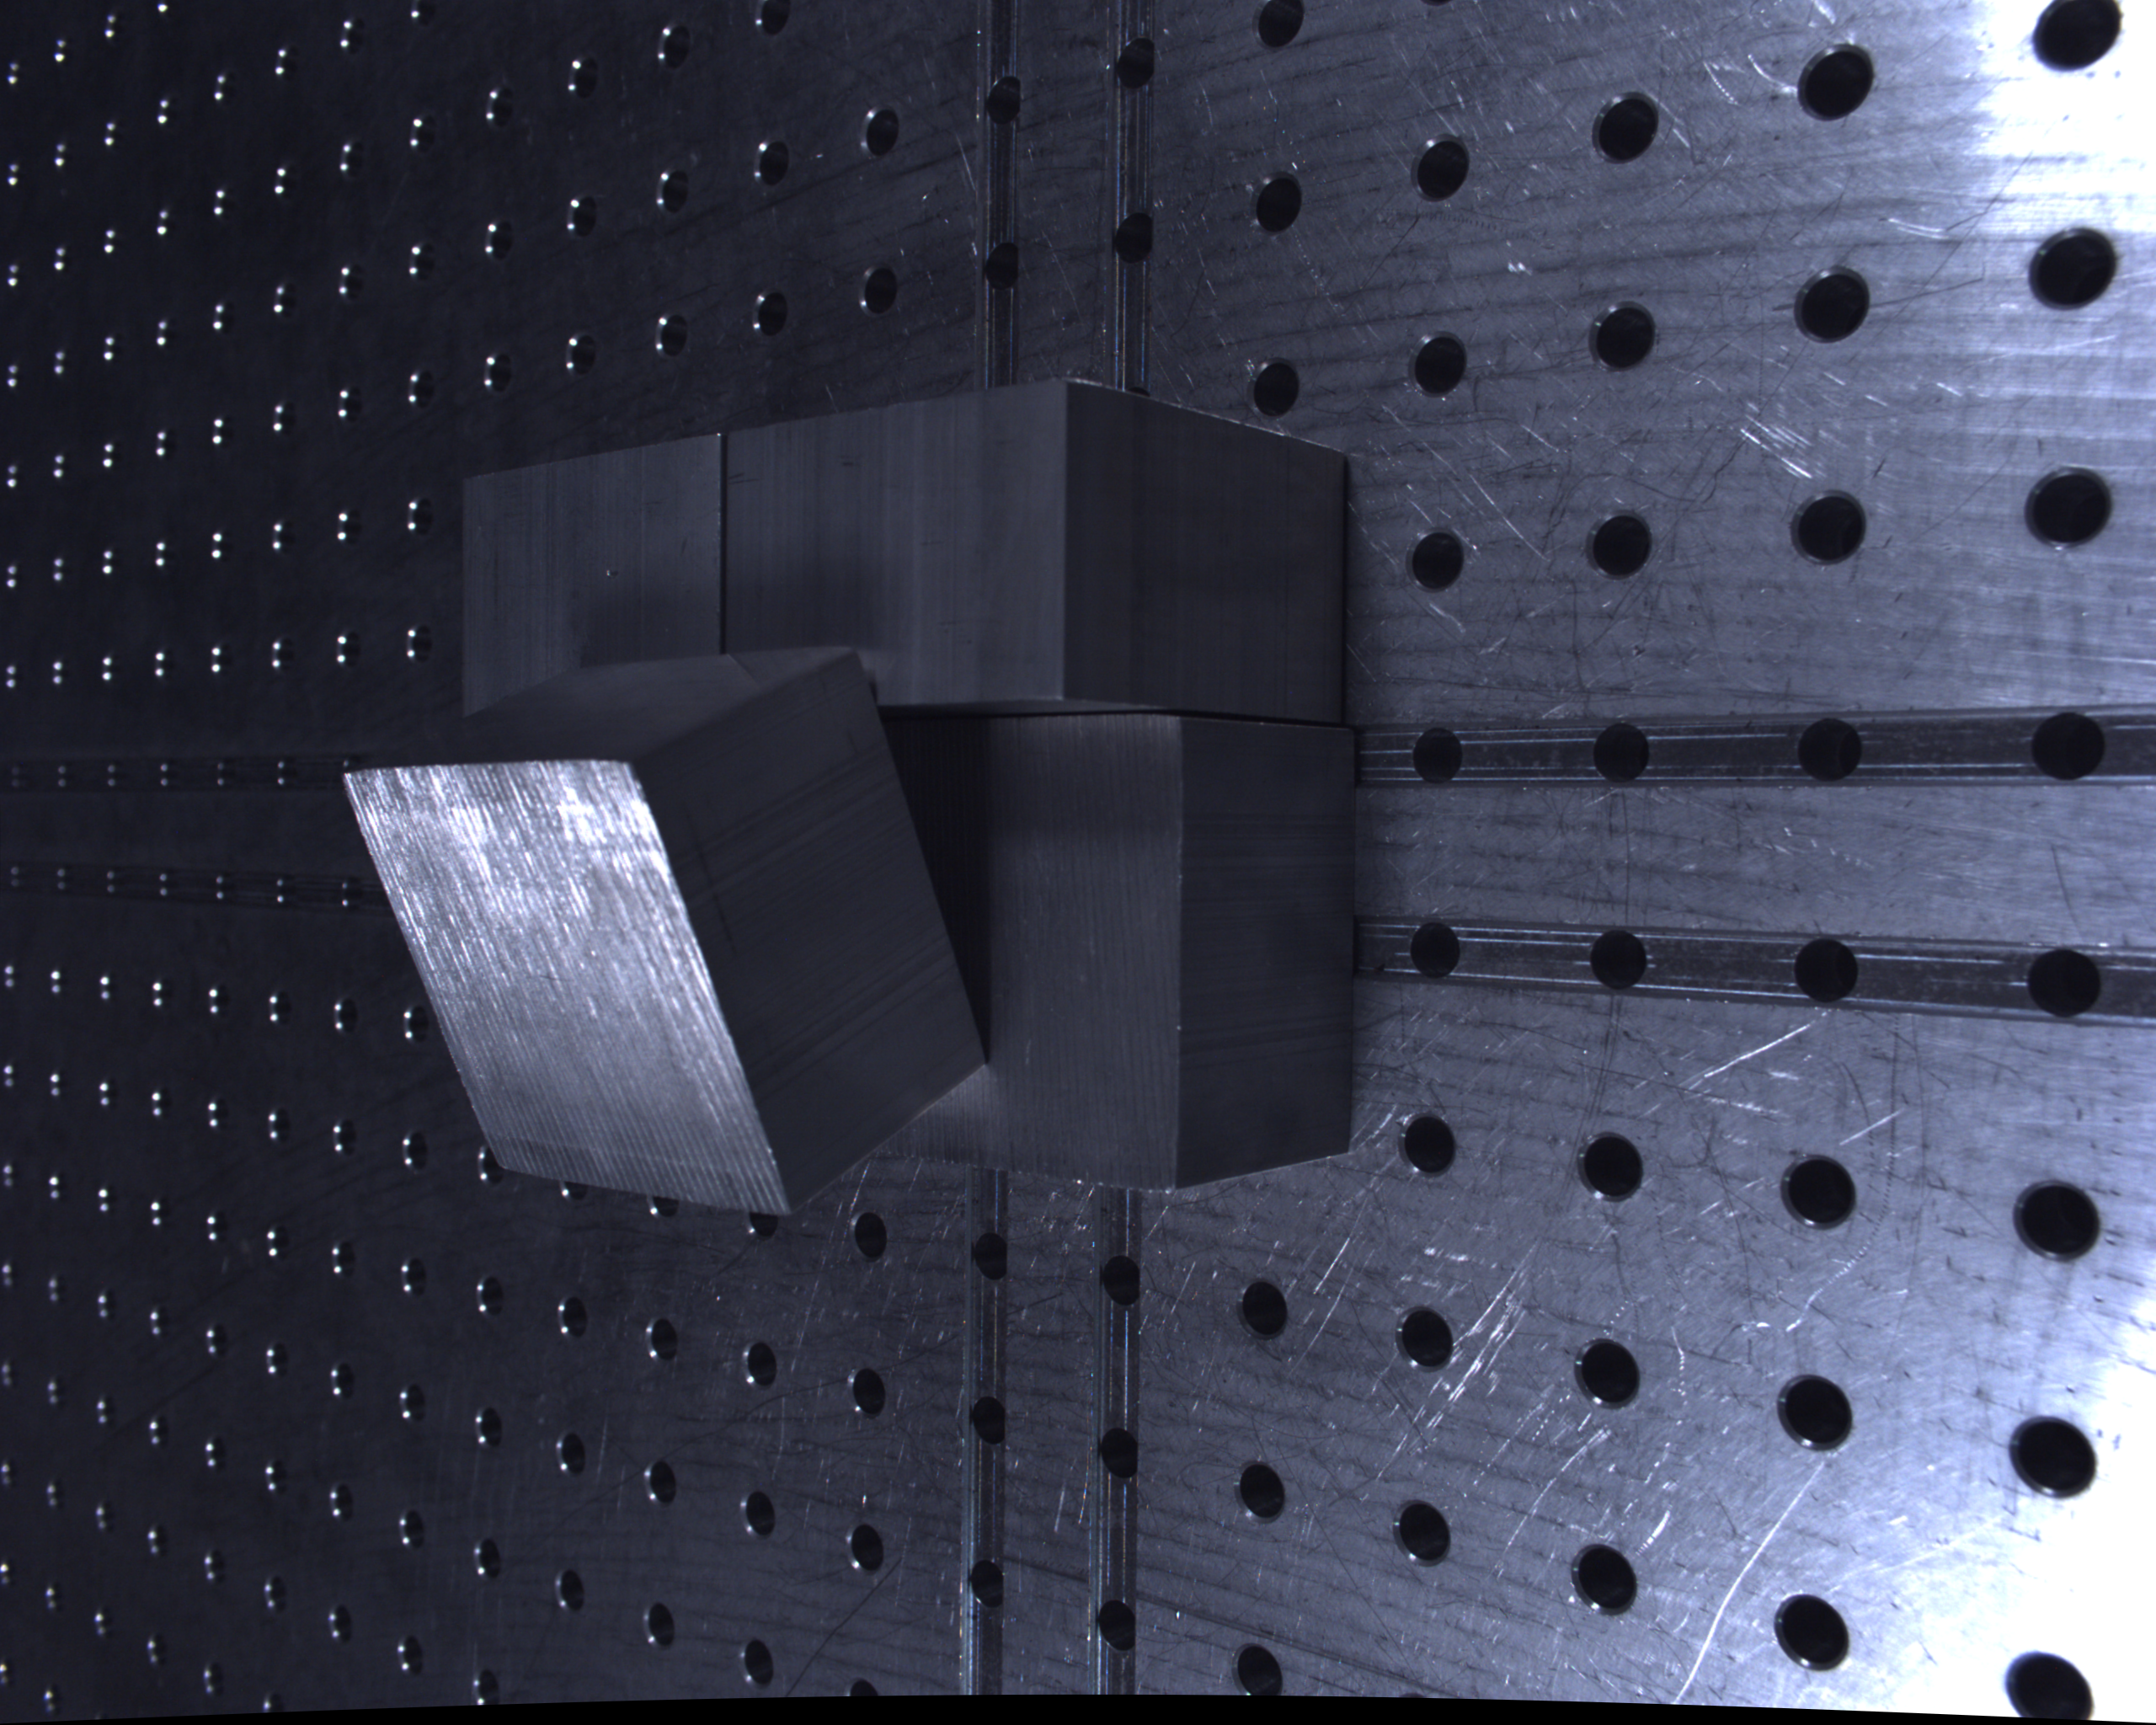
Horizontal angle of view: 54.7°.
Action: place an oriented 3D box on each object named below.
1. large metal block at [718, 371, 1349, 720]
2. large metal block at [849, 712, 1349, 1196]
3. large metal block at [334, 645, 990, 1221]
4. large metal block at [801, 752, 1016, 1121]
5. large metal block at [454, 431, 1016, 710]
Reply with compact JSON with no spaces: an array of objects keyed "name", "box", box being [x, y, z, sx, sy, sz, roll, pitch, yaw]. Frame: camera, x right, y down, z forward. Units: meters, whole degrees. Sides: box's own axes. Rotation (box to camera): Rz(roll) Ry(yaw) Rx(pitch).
[{"name":"large metal block","box":[-0.007,-0.051,0.376,0.080,0.081,0.050,1,91,39]},{"name":"large metal block","box":[0.002,0.014,0.386,0.080,0.050,0.079,1,91,39]},{"name":"large metal block","box":[-0.072,0.011,0.363,0.080,0.050,0.080,0,114,39]},{"name":"large metal block","box":[-0.060,0.012,0.438,0.080,0.050,0.079,1,91,39]},{"name":"large metal block","box":[-0.069,-0.053,0.427,0.080,0.081,0.050,1,91,39]}]
